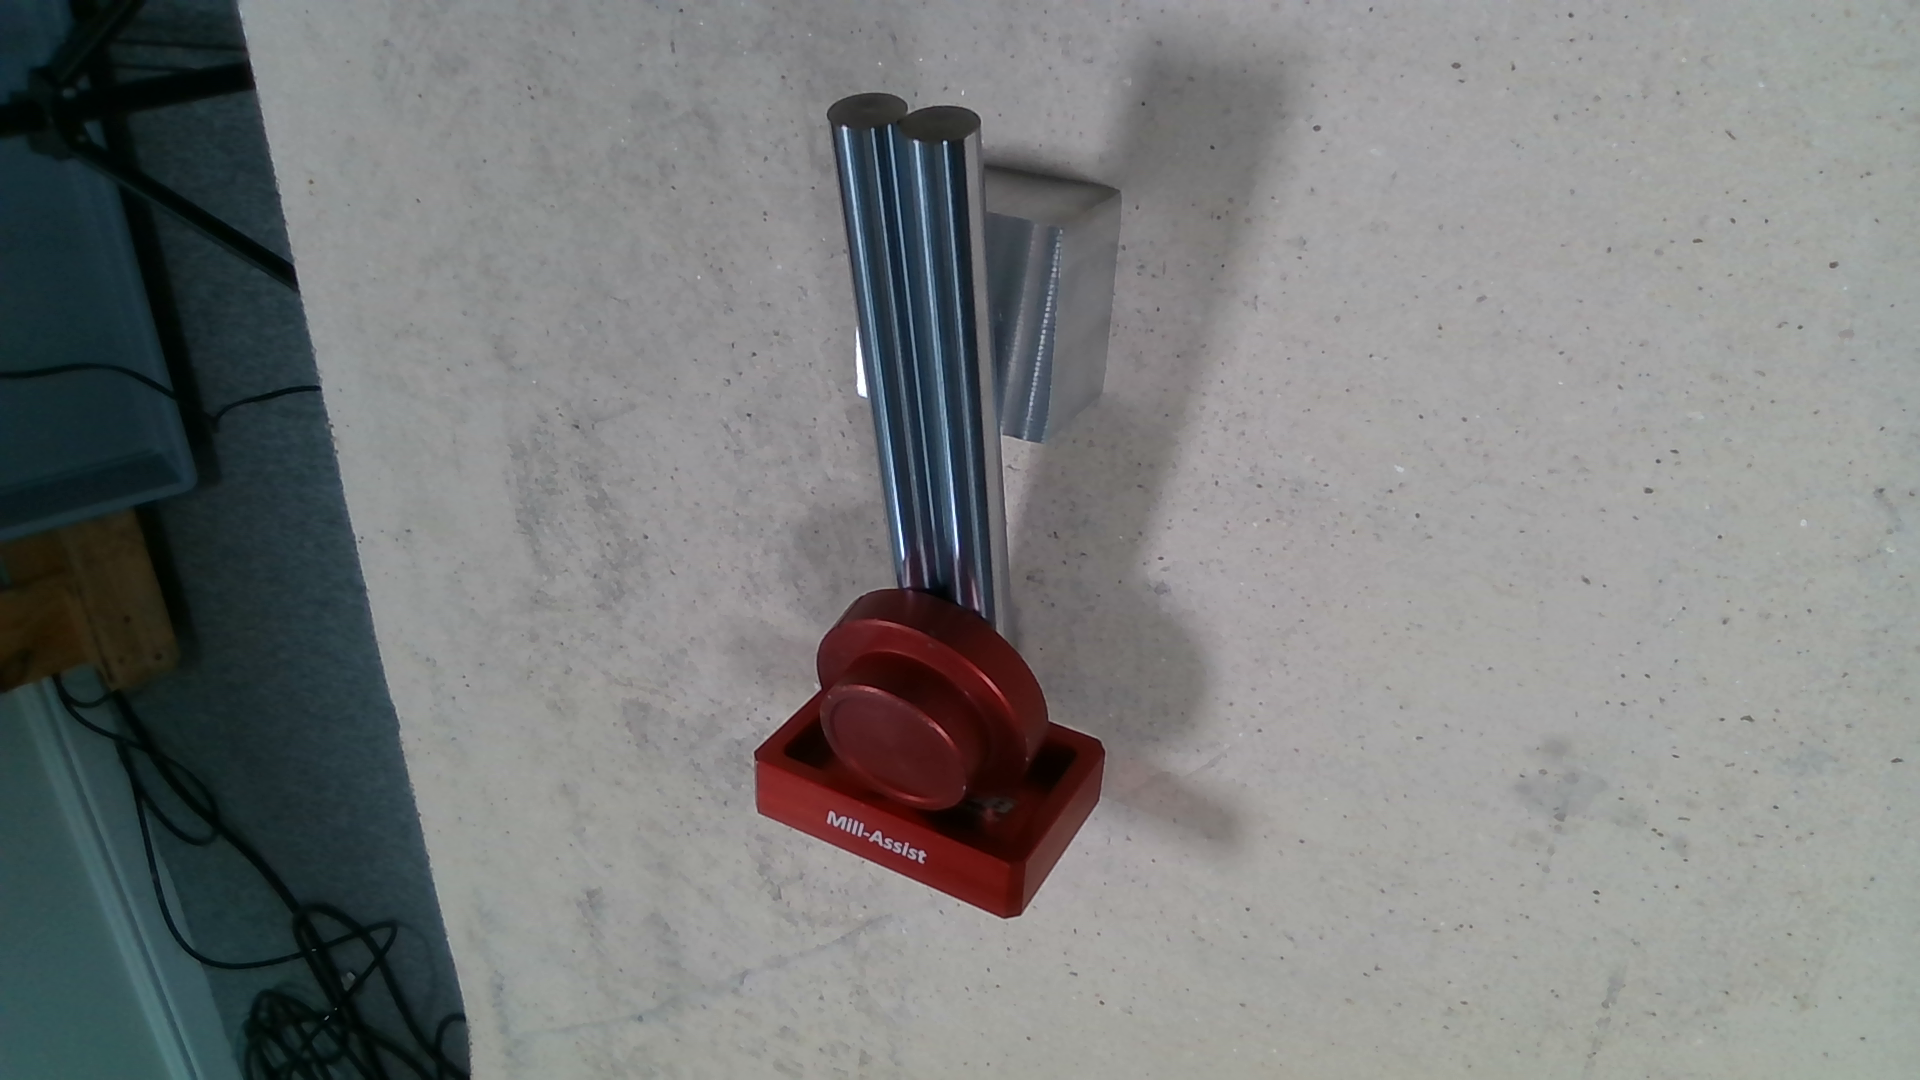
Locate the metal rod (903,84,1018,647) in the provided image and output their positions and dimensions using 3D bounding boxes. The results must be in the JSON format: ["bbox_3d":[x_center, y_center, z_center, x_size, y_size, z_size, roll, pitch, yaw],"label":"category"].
[{"bbox_3d":[0.006,-0.017,0.509,0.025,0.025,0.301,17,135,23],"label":"metal rod"}]

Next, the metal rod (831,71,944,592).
[{"bbox_3d":[-0.018,-0.025,0.519,0.025,0.025,0.301,17,136,23],"label":"metal rod"}]

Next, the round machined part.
[{"bbox_3d":[-0.018,0.069,0.555,0.098,0.042,0.098,20,135,22],"label":"round machined part"}]

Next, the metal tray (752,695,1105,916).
[{"bbox_3d":[-0.014,0.103,0.602,0.130,0.090,0.030,17,123,23],"label":"metal tray"}]

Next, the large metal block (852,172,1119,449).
[{"bbox_3d":[0.008,-0.088,0.506,0.080,0.050,0.080,17,123,23],"label":"large metal block"}]
